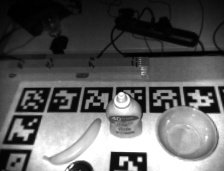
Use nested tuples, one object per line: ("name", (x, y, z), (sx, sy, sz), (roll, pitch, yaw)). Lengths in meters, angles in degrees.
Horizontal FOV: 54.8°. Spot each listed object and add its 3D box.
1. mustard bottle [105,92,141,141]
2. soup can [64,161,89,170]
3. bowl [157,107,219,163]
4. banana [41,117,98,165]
("mustard bottle", (0.029, 0.081, 0.565), (0.096, 0.193, 0.058), (-1, 52, 8))
("soup can", (-0.082, 0.233, 0.528), (0.068, 0.103, 0.067), (-3, 53, 4))
("bowl", (0.206, 0.142, 0.601), (0.161, 0.055, 0.161), (-4, 53, 6))
("banana", (-0.109, 0.166, 0.631), (0.198, 0.039, 0.073), (-40, 49, -20))
